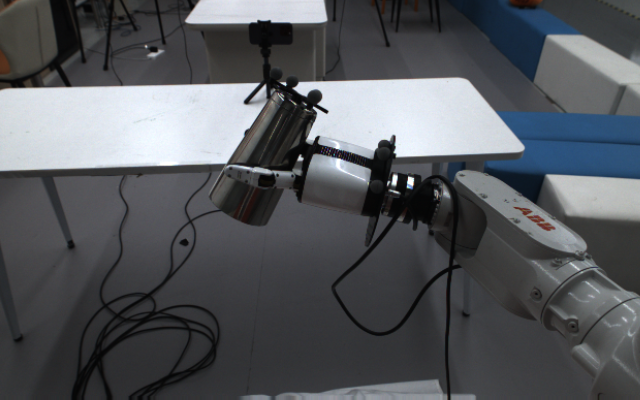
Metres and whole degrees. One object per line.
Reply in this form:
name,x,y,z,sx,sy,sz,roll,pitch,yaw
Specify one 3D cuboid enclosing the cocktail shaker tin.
cocktail shaker tin,-0.072,-0.063,0.661,0.093,0.170,0.093,28,13,-7
